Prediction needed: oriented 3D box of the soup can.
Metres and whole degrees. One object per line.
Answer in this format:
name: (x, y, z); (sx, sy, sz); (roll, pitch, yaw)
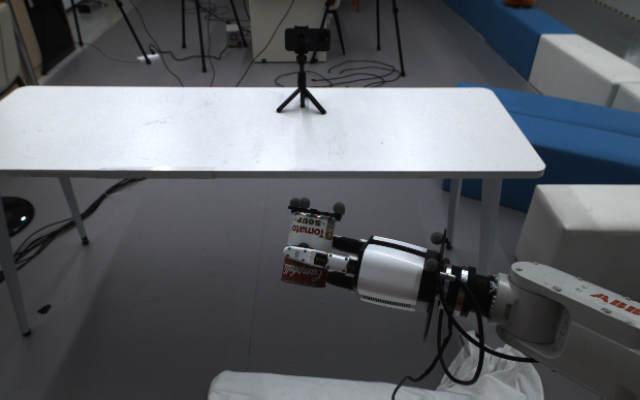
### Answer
soup can: (-0.015, 0.073, 0.713); (0.067, 0.101, 0.067); (9, -5, 1)
